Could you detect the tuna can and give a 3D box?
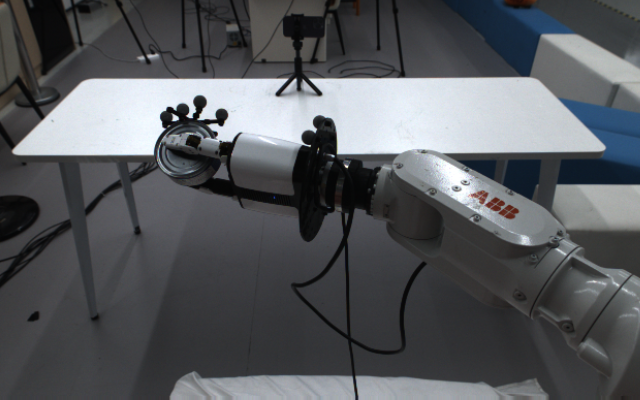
[{"bbox_3d":[-0.174,-0.061,0.657,0.085,0.034,0.085,-2,68,6],"label":"tuna can"}]
